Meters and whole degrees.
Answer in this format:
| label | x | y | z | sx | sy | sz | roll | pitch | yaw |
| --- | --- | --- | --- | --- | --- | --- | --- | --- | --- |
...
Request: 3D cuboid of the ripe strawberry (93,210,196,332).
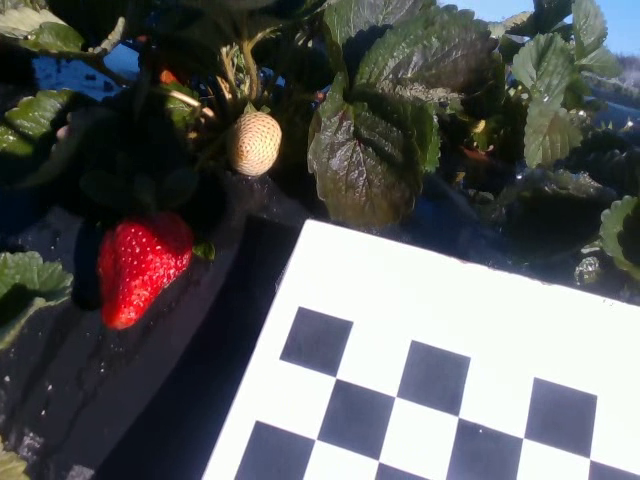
| label | x | y | z | sx | sy | sz | roll | pitch | yaw |
| --- | --- | --- | --- | --- | --- | --- | --- | --- | --- |
| ripe strawberry | -0.079 | 0.013 | 0.263 | 0.048 | 0.069 | 0.040 | -1 | -35 | 3 |
